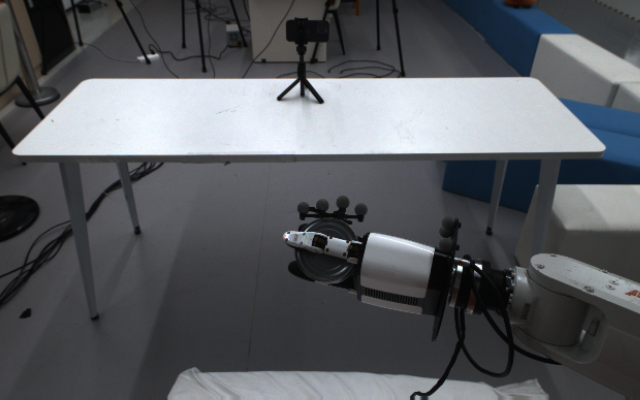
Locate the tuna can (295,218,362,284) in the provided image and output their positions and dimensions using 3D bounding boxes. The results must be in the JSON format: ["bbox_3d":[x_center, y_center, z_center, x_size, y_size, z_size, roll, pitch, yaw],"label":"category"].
[{"bbox_3d":[0.014,0.073,0.641,0.085,0.034,0.085,-3,73,10],"label":"tuna can"}]
